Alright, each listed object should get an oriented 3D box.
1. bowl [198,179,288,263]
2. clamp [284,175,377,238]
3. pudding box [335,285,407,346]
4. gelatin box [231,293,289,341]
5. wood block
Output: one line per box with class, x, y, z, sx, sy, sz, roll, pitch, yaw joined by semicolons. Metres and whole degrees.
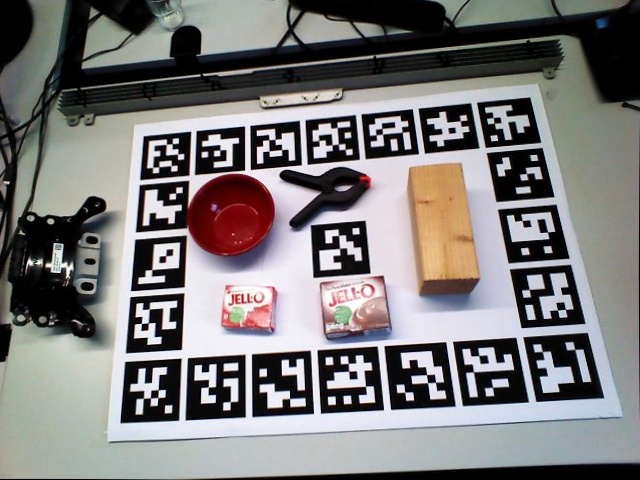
bowl;-0.135;-0.028;0.942;0.162;0.055;0.161;-2;72;5
clamp;0.025;-0.076;0.952;0.165;0.036;0.121;-14;68;-1
pudding box;0.084;0.126;0.859;0.114;0.039;0.089;-6;73;7
gelatin box;-0.102;0.131;0.883;0.090;0.030;0.073;3;71;8
wood block;0.234;-0.004;0.861;0.090;0.091;0.205;-2;69;5
